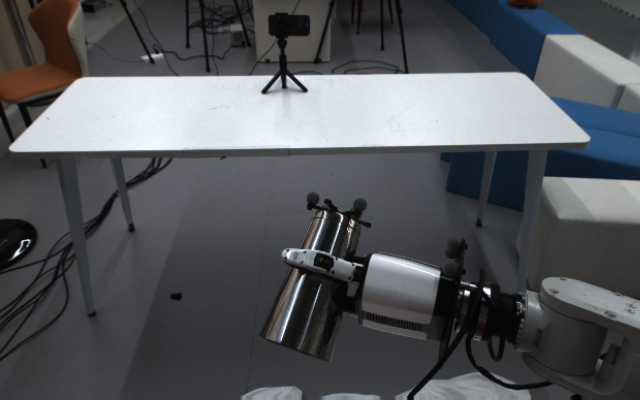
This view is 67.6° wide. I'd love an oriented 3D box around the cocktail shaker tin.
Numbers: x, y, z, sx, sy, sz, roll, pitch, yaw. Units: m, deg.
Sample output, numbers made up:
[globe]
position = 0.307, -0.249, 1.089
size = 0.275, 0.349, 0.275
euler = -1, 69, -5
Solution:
[cocktail shaker tin]
position = -0.003, 0.104, 0.606
size = 0.093, 0.093, 0.170
euler = 13, 70, 15
